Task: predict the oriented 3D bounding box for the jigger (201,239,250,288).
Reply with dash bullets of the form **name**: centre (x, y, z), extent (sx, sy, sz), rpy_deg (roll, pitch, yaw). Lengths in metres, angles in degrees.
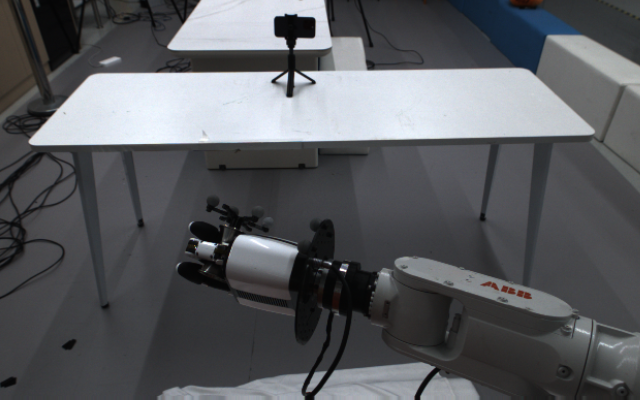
- **jigger**: centre (-0.125, 0.071, 0.643), extent (0.043, 0.043, 0.071), rpy_deg (13, 70, 16)
